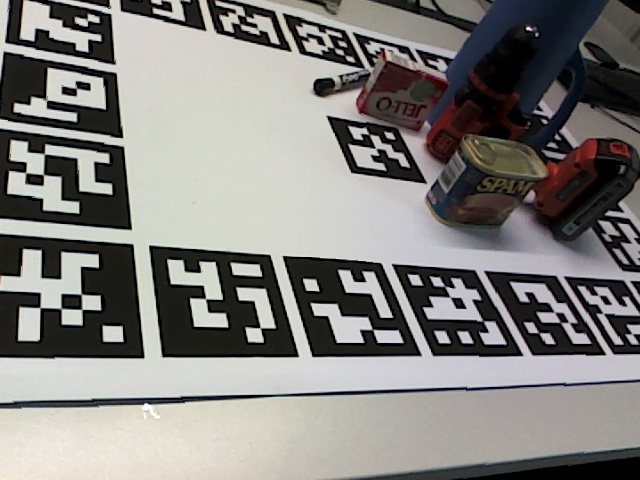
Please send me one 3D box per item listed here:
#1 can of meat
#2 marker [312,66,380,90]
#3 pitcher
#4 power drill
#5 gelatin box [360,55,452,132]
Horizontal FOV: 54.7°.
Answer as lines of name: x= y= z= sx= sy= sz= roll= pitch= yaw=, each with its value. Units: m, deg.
can of meat: x=0.175 y=-0.059 z=0.675 sx=0.101 sy=0.084 sz=0.058 roll=5 pitch=45 yaw=-28
marker: x=0.035 y=-0.209 z=0.793 sx=0.120 sy=0.019 sz=0.020 roll=-22 pitch=63 yaw=-42
pitcher: x=0.263 y=-0.221 z=0.786 sx=0.189 sy=0.242 sz=0.133 roll=24 pitch=44 yaw=2
power drill: x=0.237 y=-0.133 z=0.715 sx=0.187 sy=0.185 sz=0.057 roll=34 pitch=43 yaw=-5
gelatin box: x=0.106 y=-0.179 z=0.769 sx=0.089 sy=0.073 sz=0.030 roll=15 pitch=47 yaw=-20
